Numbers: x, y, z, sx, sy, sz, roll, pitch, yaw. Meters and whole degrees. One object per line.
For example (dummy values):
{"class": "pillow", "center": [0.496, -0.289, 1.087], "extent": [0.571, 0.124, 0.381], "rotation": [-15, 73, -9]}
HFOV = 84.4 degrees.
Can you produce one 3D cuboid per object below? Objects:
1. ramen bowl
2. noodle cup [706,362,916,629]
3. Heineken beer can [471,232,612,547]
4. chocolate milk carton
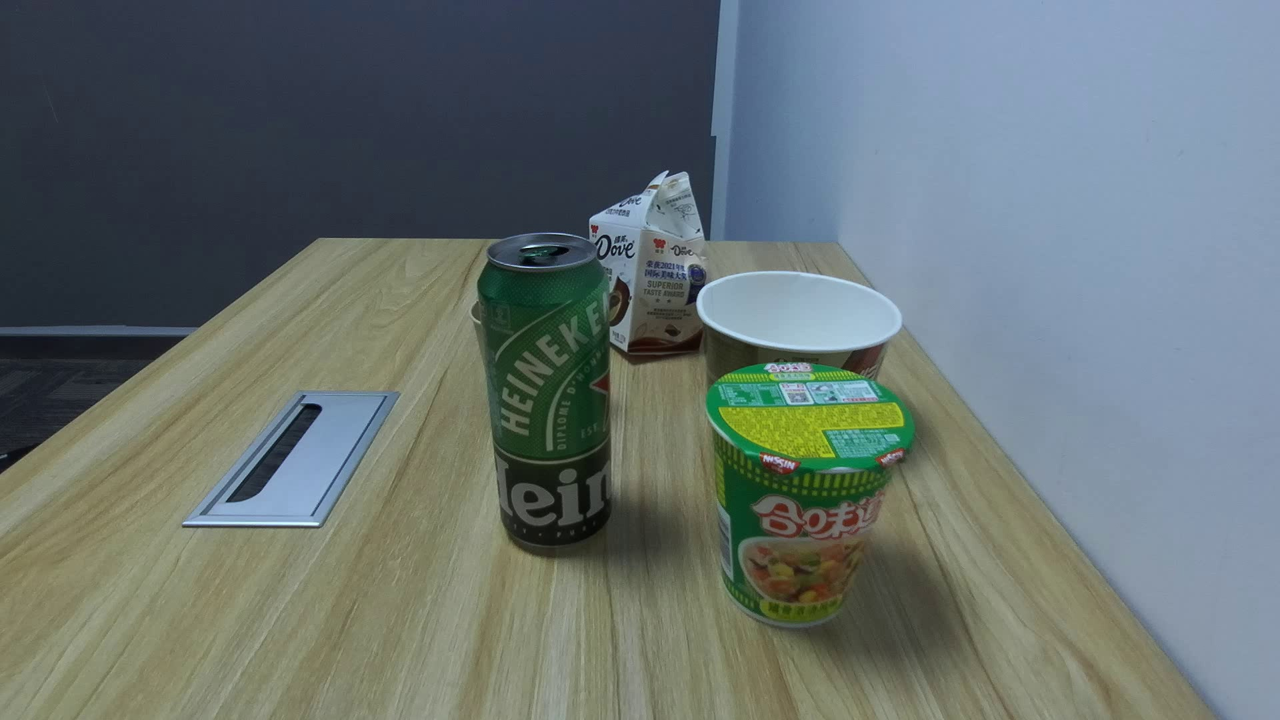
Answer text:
{"class": "ramen bowl", "center": [0.106, 0.003, 0.505], "extent": [0.140, 0.095, 0.140], "rotation": [1, 26, 0]}
{"class": "noodle cup", "center": [0.078, 0.071, 0.359], "extent": [0.097, 0.110, 0.097], "rotation": [1, 28, 0]}
{"class": "Heineken beer can", "center": [-0.049, 0.021, 0.389], "extent": [0.067, 0.169, 0.067], "rotation": [1, 26, 0]}
{"class": "chocolate milk carton", "center": [0.008, -0.083, 0.620], "extent": [0.077, 0.155, 0.089], "rotation": [-10, 15, -27]}
